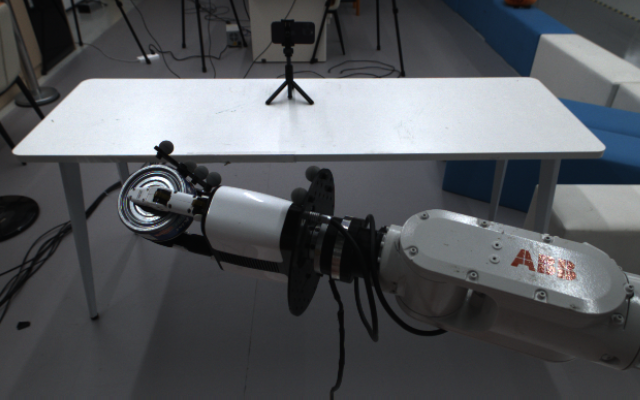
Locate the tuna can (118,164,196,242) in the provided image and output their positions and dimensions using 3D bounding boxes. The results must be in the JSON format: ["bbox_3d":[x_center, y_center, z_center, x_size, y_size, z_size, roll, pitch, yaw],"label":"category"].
[{"bbox_3d":[-0.184,0.009,0.556,0.085,0.034,0.085,-4,69,9],"label":"tuna can"}]
